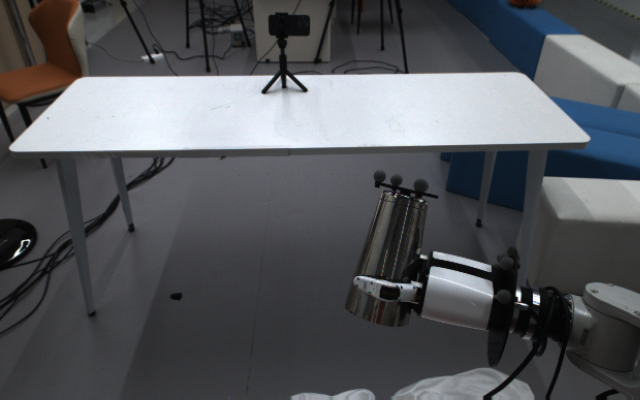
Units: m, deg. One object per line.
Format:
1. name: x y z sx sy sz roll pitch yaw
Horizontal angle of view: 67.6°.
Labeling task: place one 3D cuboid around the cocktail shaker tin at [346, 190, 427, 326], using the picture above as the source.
1. cocktail shaker tin: 0.099 0.077 0.672 0.093 0.170 0.093 13 4 -1
